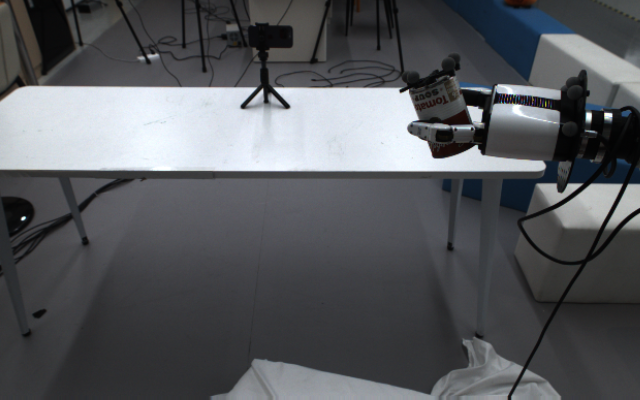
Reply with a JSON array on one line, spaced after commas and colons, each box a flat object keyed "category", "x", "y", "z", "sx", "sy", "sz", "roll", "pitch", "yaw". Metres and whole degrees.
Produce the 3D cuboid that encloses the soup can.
[{"category": "soup can", "x": 0.174, "y": -0.119, "z": 0.678, "sx": 0.067, "sy": 0.101, "sz": 0.067, "roll": -23, "pitch": 16, "yaw": 7}]
